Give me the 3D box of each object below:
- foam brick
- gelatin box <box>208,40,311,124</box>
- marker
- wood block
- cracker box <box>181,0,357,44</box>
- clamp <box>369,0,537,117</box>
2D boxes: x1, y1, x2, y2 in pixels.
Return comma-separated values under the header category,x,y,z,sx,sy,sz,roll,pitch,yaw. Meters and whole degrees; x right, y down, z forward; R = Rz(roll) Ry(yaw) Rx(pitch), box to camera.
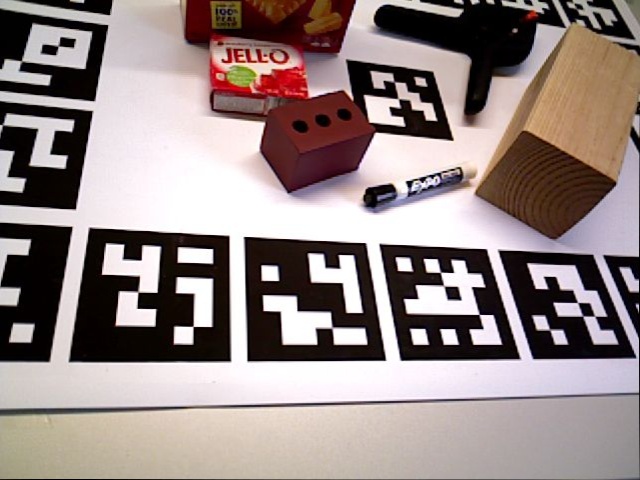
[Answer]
category,x,y,z,sx,sy,sz,roll,pitch,yaw
foam brick,-0.004,-0.079,0.456,0.076,0.052,0.052,-22,70,-26
gelatin box,-0.056,-0.143,0.496,0.088,0.031,0.072,0,61,-16
marker,0.081,-0.042,0.477,0.119,0.020,0.019,-17,68,-24
wood block,0.236,-0.109,0.524,0.090,0.093,0.201,30,53,6
cracker box,-0.029,-0.280,0.464,0.162,0.219,0.071,-1,58,-19
clamp,0.175,-0.227,0.606,0.198,0.037,0.165,-29,72,-28
